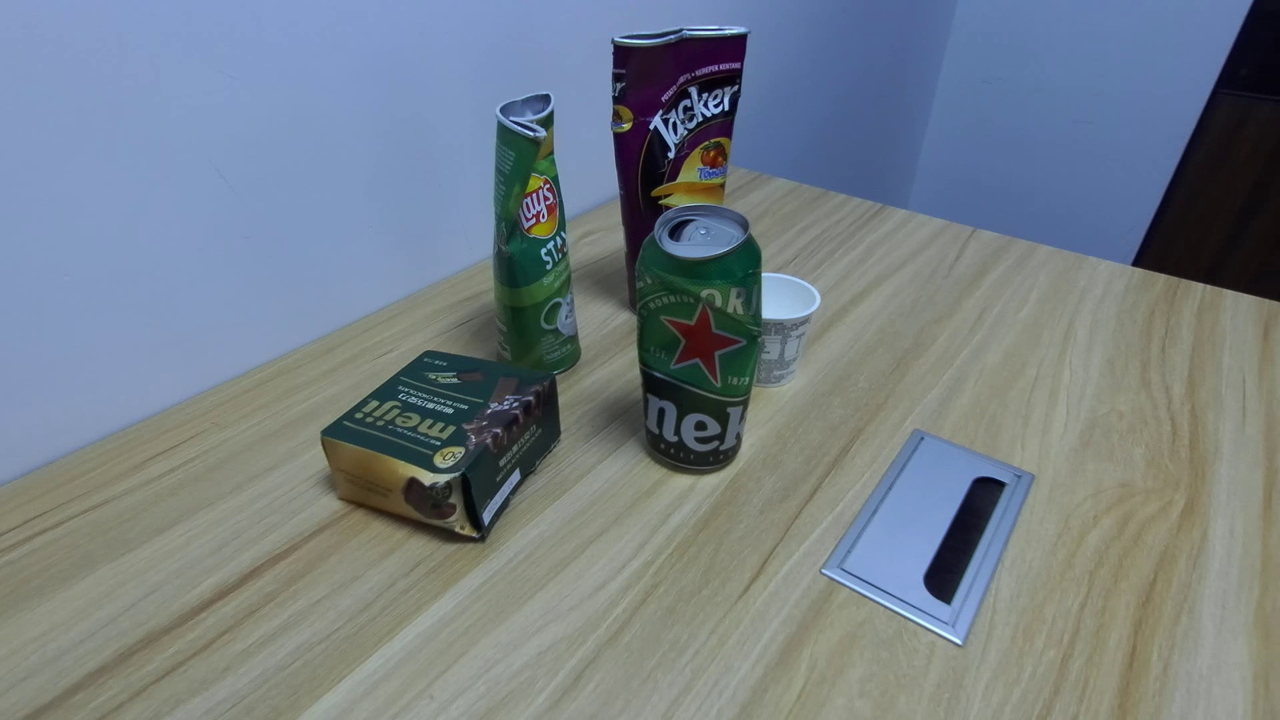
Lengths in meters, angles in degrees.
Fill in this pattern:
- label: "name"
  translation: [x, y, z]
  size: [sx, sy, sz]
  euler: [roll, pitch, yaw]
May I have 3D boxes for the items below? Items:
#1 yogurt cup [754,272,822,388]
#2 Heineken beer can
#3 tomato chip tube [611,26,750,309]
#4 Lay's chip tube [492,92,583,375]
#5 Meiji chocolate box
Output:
- label: "yogurt cup"
  translation: [0.098, -0.022, 0.548]
  size: [0.072, 0.068, 0.072]
  euler: [1, 35, -1]
- label: "Heineken beer can"
  translation: [0.036, -0.007, 0.443]
  size: [0.069, 0.168, 0.068]
  euler: [-9, 36, -10]
- label: "tomato chip tube"
  translation: [0.028, -0.145, 0.586]
  size: [0.090, 0.236, 0.078]
  euler: [10, 34, 12]
- label: "Lay's chip tube"
  translation: [-0.080, -0.087, 0.528]
  size: [0.069, 0.201, 0.077]
  euler: [-15, 40, -22]
- label: "Meiji chocolate box"
  translation: [-0.126, 0.049, 0.461]
  size: [0.115, 0.058, 0.123]
  euler: [11, 35, 19]
